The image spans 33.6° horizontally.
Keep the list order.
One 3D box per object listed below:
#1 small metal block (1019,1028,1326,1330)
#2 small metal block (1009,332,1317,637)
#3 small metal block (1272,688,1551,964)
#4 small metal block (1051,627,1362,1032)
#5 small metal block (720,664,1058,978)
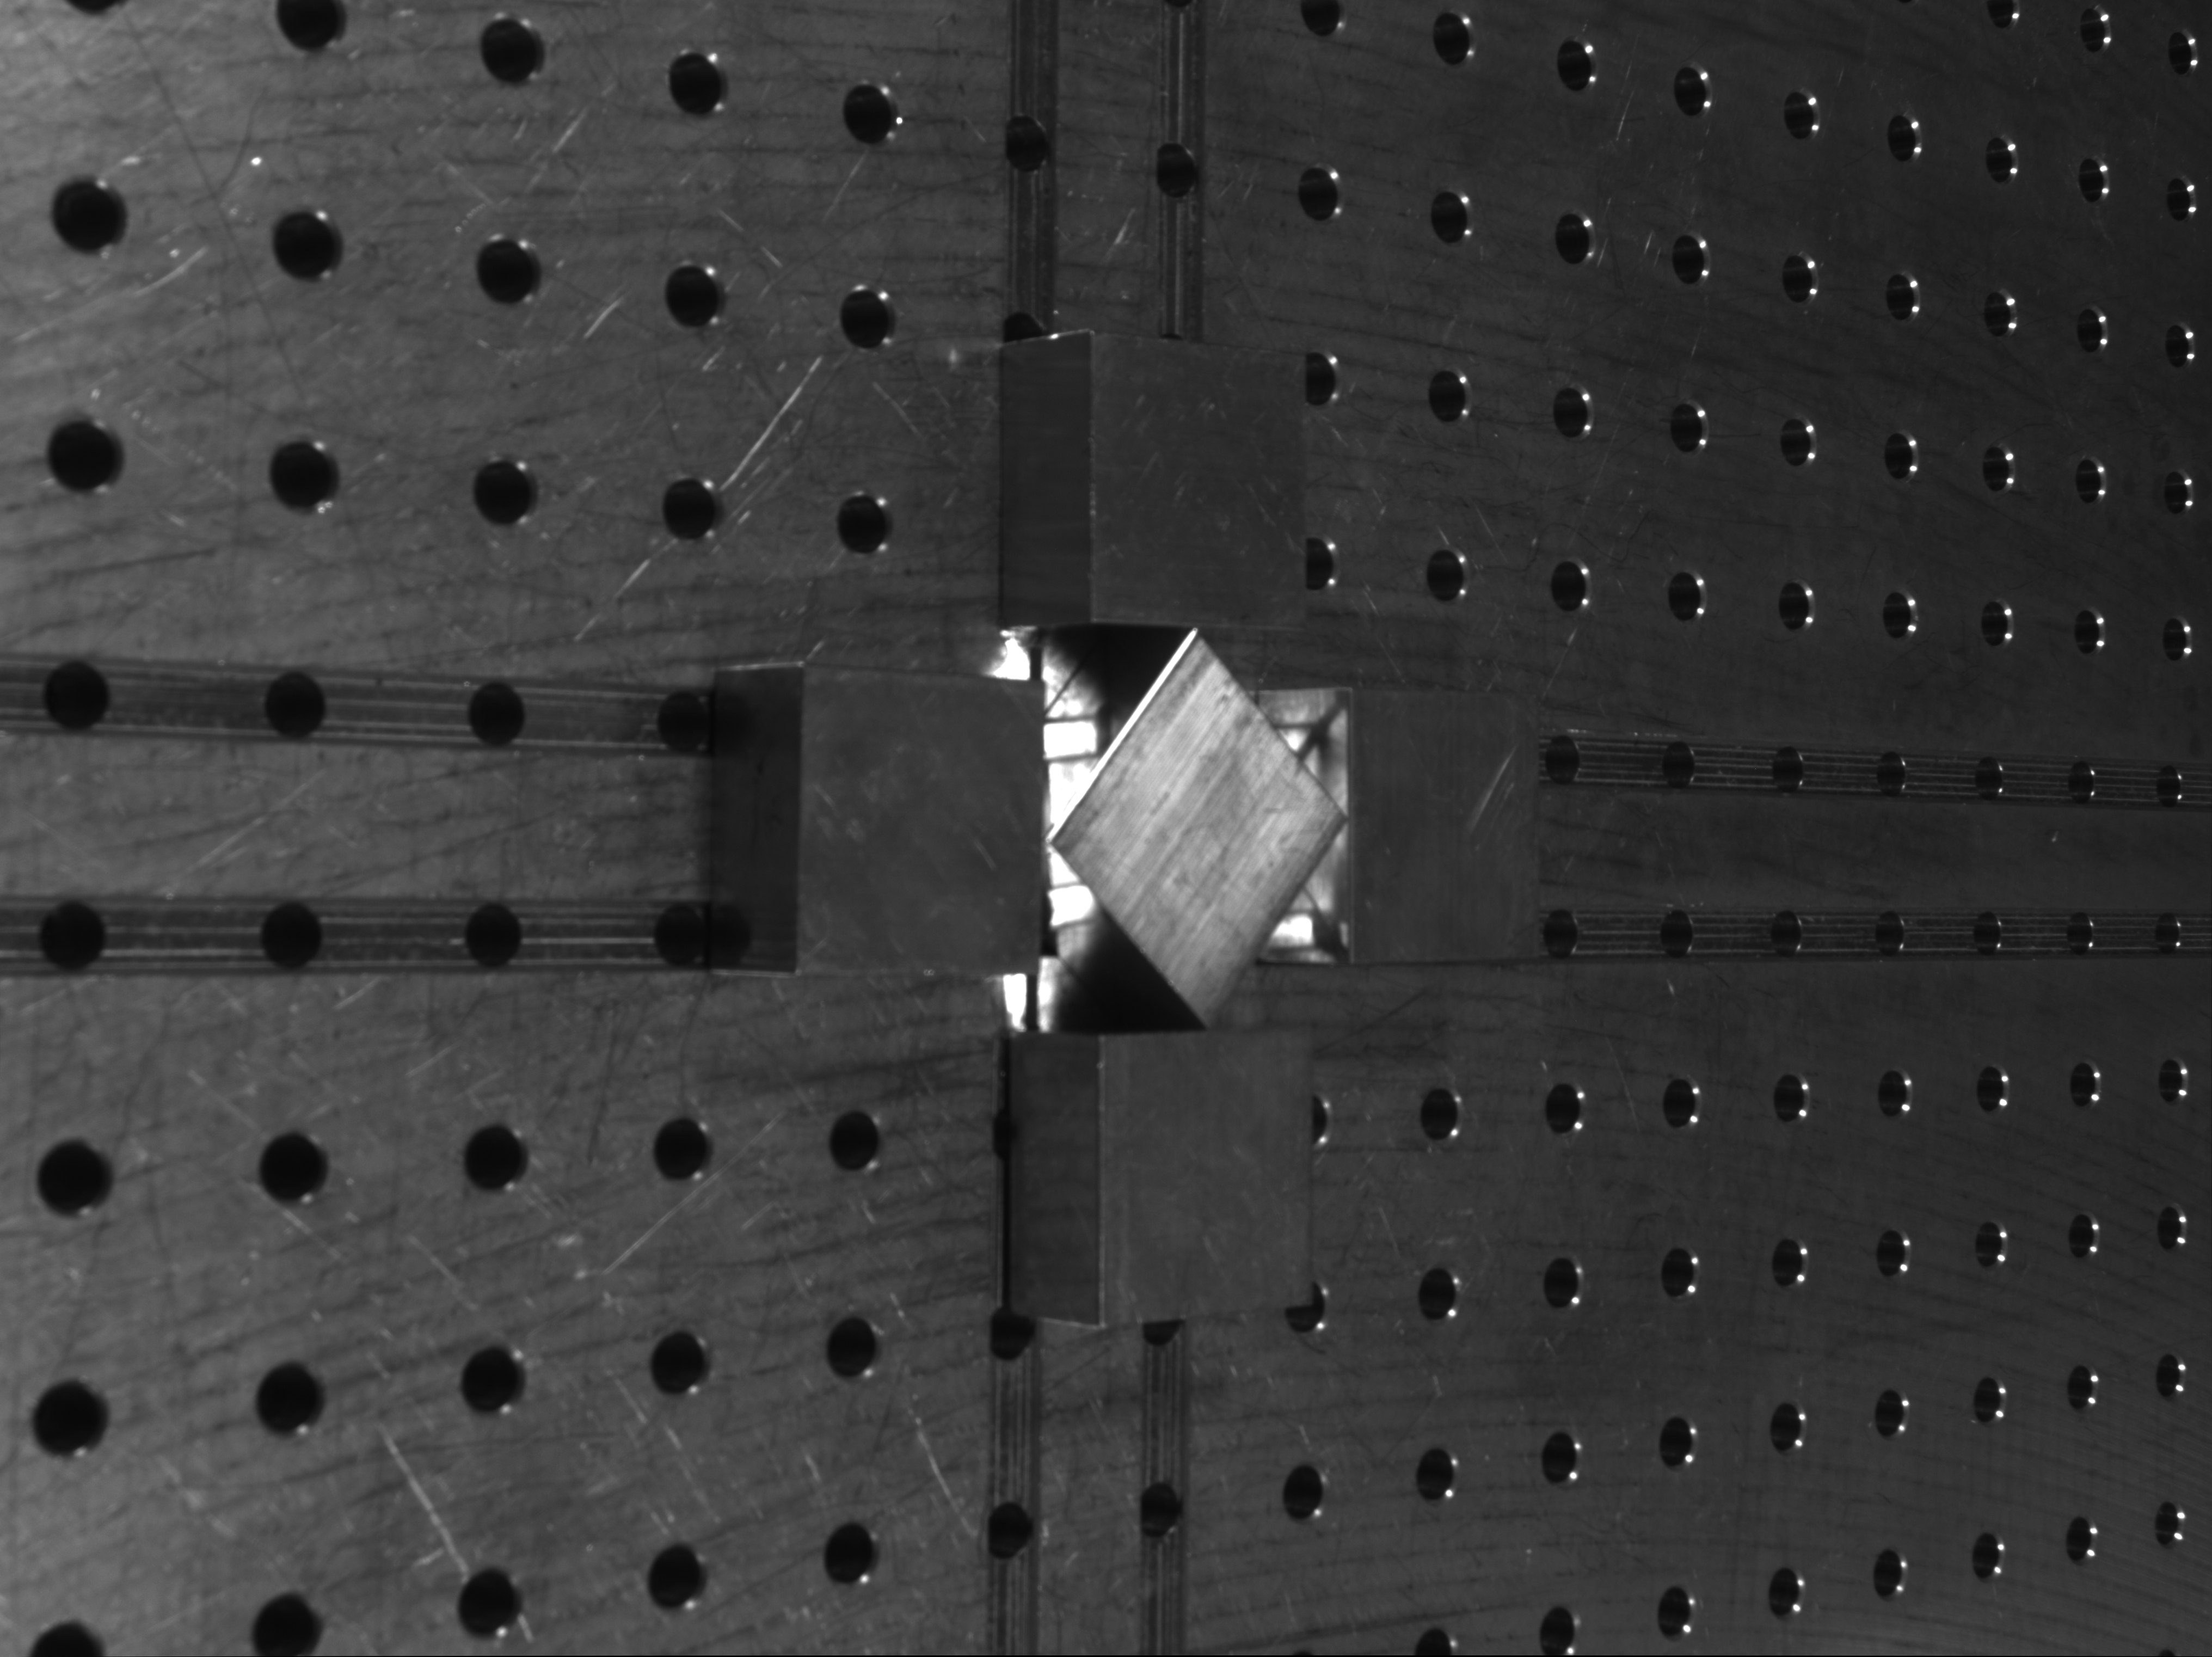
[{"bbox_3d":[0.012,0.061,0.650,0.050,0.025,0.050,1,90,-40],"label":"small metal block"},{"bbox_3d":[0.010,-0.060,0.649,0.050,0.025,0.050,-1,90,-40],"label":"small metal block"},{"bbox_3d":[0.057,-0.001,0.688,0.050,0.025,0.050,0,90,-40],"label":"small metal block"},{"bbox_3d":[0.011,0.000,0.649,0.050,0.025,0.050,50,61,-28],"label":"small metal block"},{"bbox_3d":[-0.036,-0.001,0.610,0.050,0.025,0.050,2,89,-40],"label":"small metal block"}]
